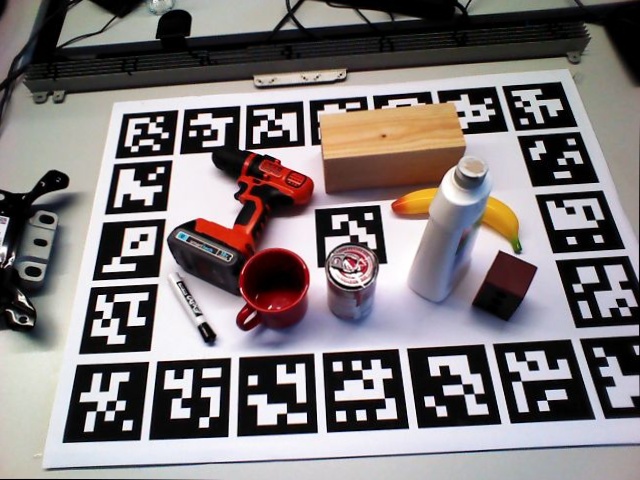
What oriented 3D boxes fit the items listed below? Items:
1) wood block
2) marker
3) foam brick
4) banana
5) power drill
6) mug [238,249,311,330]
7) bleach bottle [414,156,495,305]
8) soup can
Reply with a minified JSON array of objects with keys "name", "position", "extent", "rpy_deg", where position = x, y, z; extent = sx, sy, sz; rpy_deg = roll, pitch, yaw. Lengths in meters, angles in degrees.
[{"name":"wood block","position":[0.115,-0.138,0.787],"extent":[0.207,0.091,0.089],"rpy_deg":[-5,61,2]},{"name":"marker","position":[-0.176,0.099,0.716],"extent":[0.019,0.020,0.121],"rpy_deg":[-31,64,-11]},{"name":"foam brick","position":[0.250,0.062,0.670],"extent":[0.053,0.078,0.051],"rpy_deg":[26,63,20]},{"name":"banana","position":[0.201,-0.056,0.759],"extent":[0.198,0.039,0.074],"rpy_deg":[11,75,8]},{"name":"power drill","position":[-0.115,-0.042,0.774],"extent":[0.185,0.057,0.186],"rpy_deg":[23,63,13]},{"name":"mug","position":[-0.062,0.072,0.683],"extent":[0.093,0.082,0.116],"rpy_deg":[37,72,20]},{"name":"bleach bottle","position":[0.164,-0.016,0.620],"extent":[0.068,0.251,0.102],"rpy_deg":[22,63,17]},{"name":"soup can","position":[0.045,0.053,0.668],"extent":[0.068,0.102,0.067],"rpy_deg":[-1,56,2]}]
